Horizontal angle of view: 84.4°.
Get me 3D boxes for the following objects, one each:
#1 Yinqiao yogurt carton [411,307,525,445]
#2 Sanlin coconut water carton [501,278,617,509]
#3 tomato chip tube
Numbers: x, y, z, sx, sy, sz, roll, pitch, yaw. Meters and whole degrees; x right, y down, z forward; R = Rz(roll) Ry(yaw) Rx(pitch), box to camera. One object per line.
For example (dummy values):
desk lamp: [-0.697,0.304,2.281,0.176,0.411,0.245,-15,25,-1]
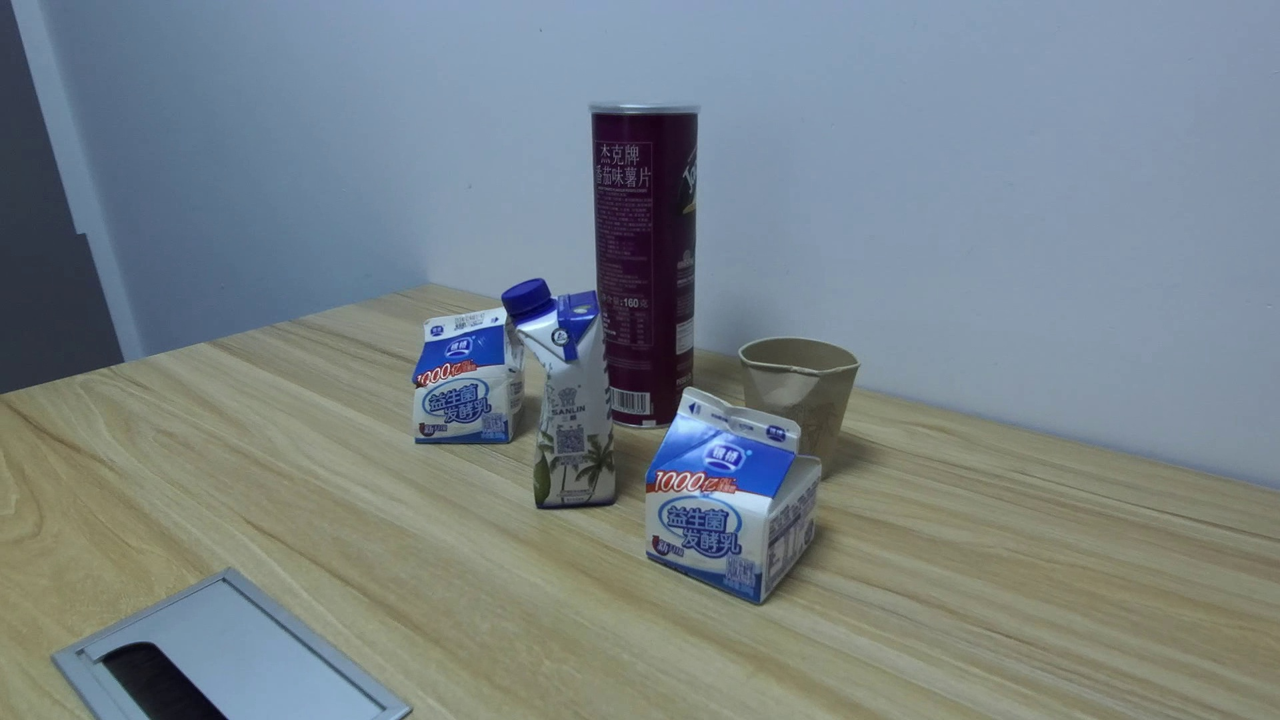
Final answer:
Yinqiao yogurt carton: [-0.129,0.005,0.542,0.083,0.093,0.077,0,23,0]
Sanlin coconut water carton: [-0.046,0.020,0.444,0.058,0.142,0.078,-7,21,-3]
tomato chip tube: [0.003,-0.068,0.536,0.078,0.234,0.078,0,19,0]
